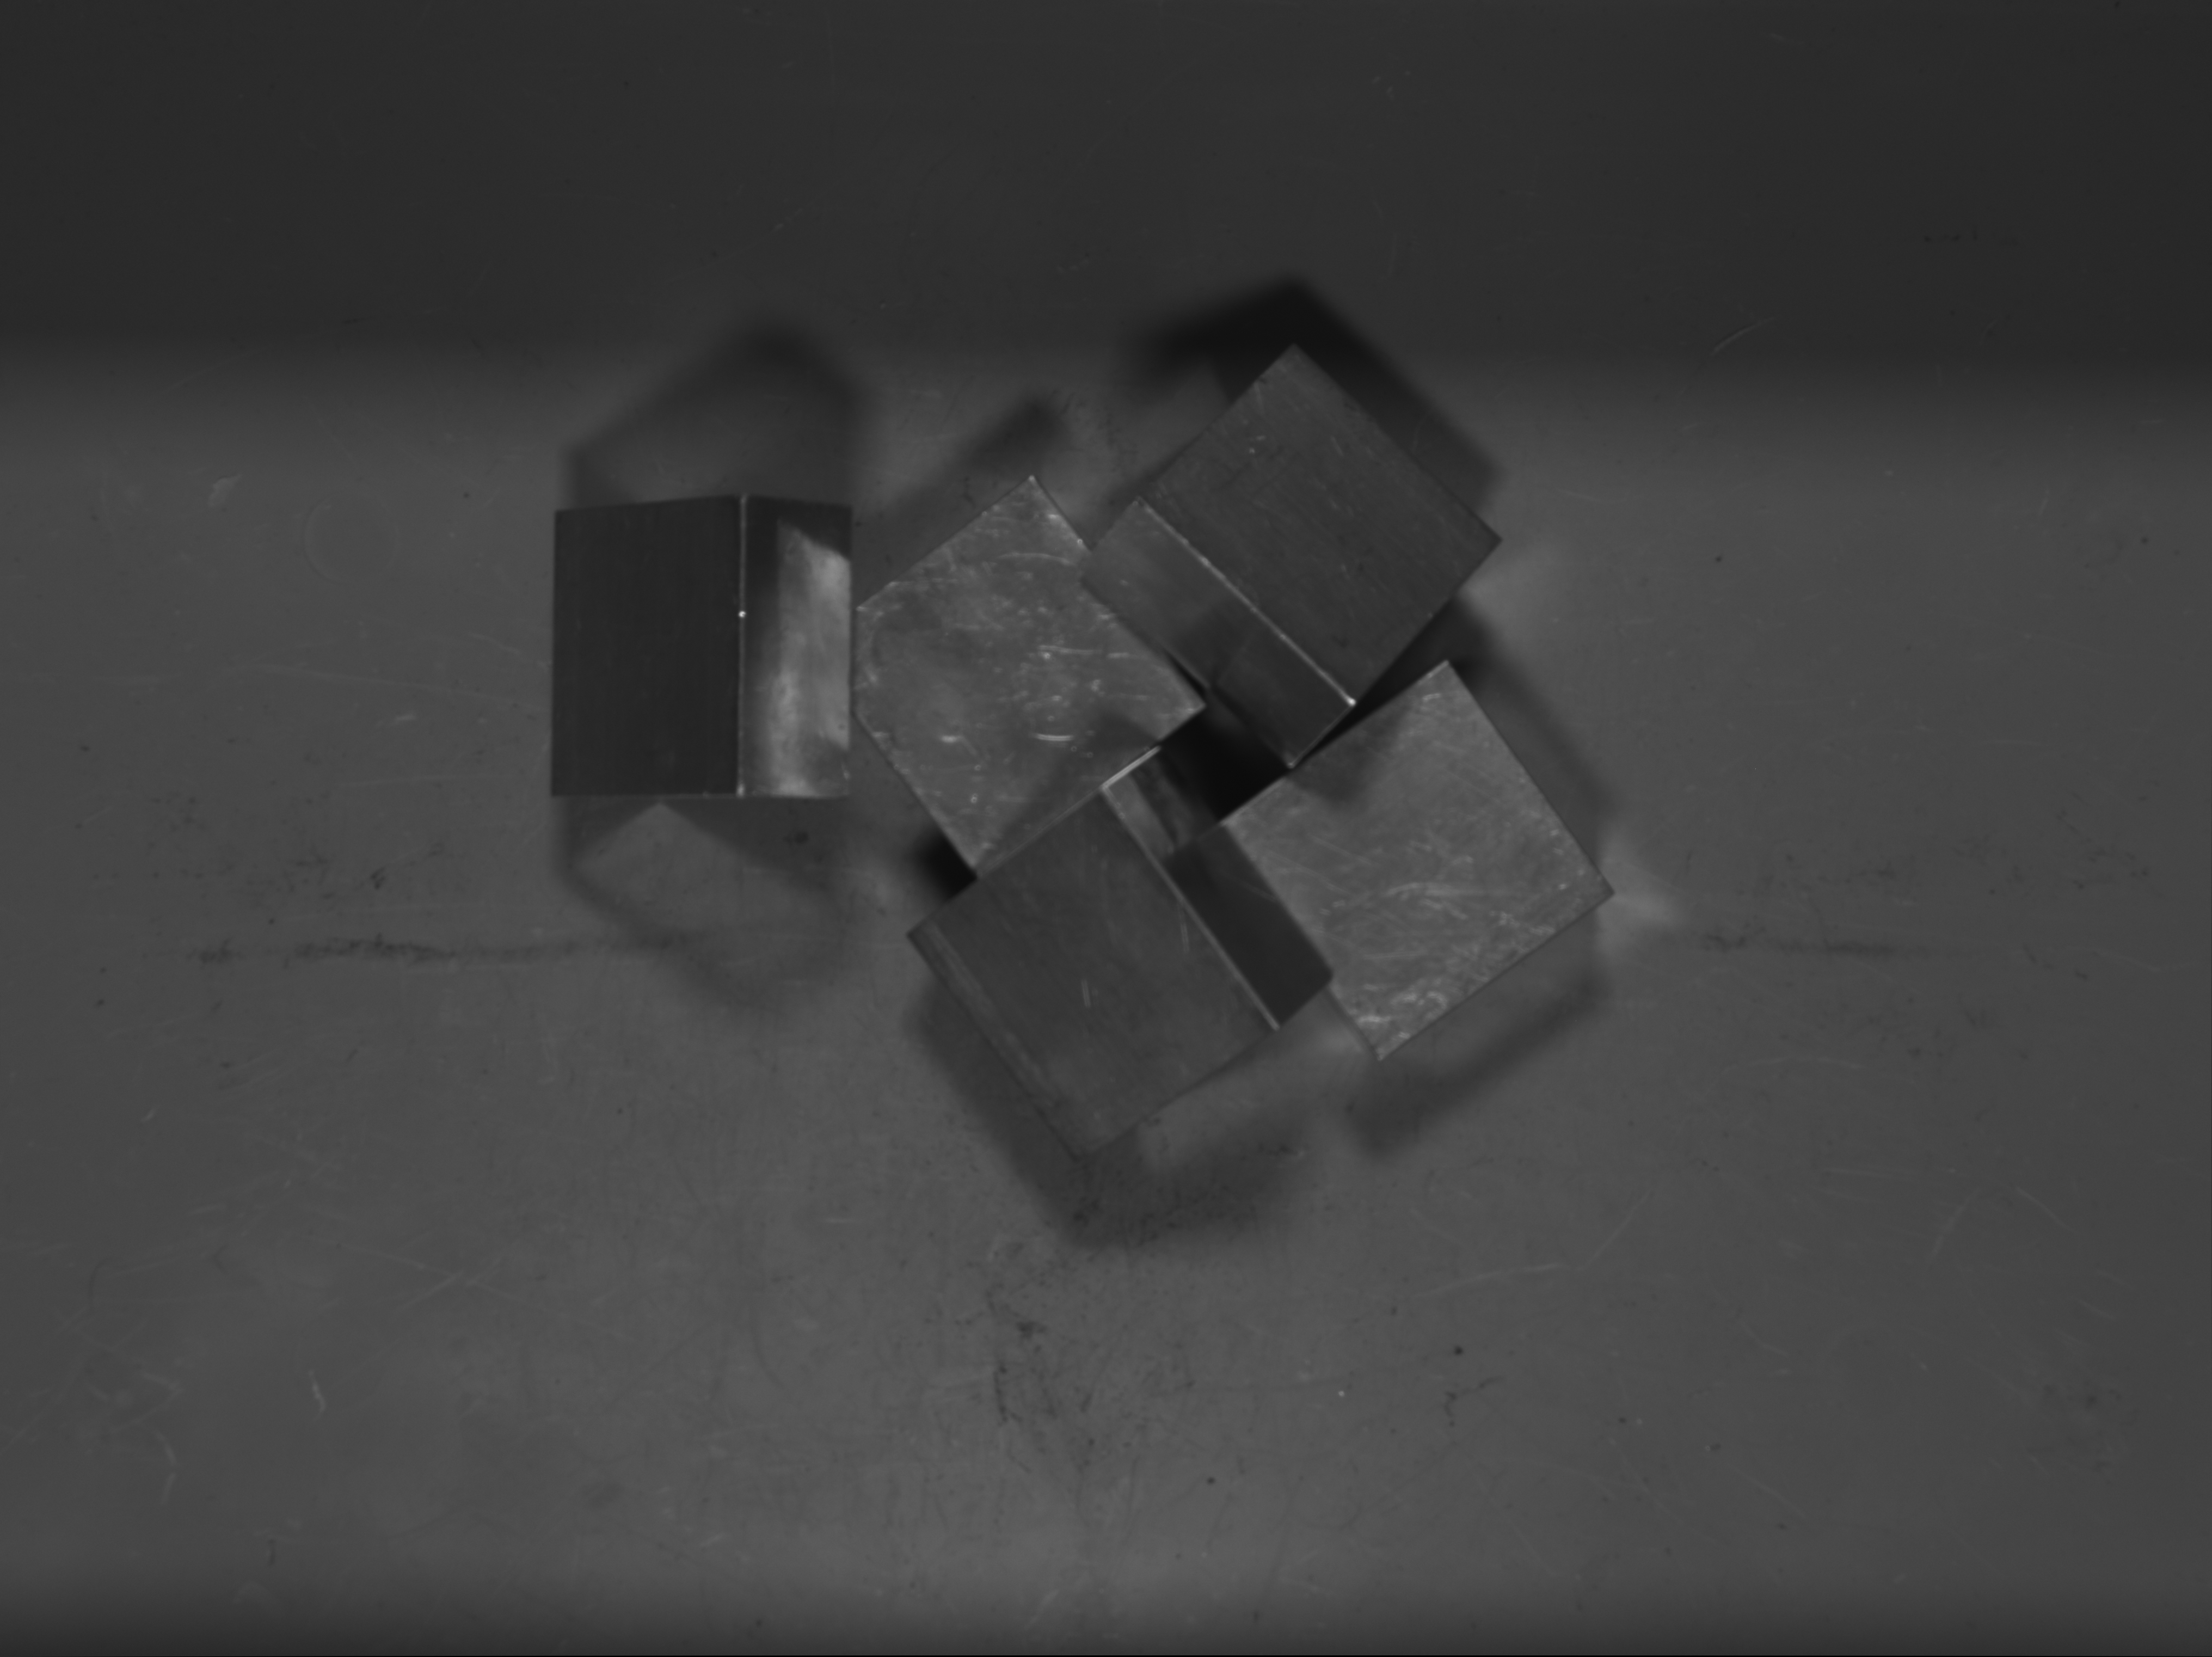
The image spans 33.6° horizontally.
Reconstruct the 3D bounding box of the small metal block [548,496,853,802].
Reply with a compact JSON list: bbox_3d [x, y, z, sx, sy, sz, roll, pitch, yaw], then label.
[{"bbox_3d":[-0.070,-0.030,0.630,0.050,0.025,0.050,0,89,43],"label":"small metal block"}]

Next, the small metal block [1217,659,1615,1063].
[{"bbox_3d":[0.053,0.006,0.644,0.050,0.025,0.050,-36,90,0],"label":"small metal block"}]

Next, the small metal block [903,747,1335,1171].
[{"bbox_3d":[0.002,0.023,0.632,0.050,0.025,0.050,-37,90,31],"label":"small metal block"}]

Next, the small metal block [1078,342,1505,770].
[{"bbox_3d":[0.032,-0.047,0.633,0.050,0.025,0.050,43,55,0],"label":"small metal block"}]

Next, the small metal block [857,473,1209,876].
[{"bbox_3d":[-0.017,-0.026,0.644,0.050,0.025,0.050,-38,90,0],"label":"small metal block"}]
